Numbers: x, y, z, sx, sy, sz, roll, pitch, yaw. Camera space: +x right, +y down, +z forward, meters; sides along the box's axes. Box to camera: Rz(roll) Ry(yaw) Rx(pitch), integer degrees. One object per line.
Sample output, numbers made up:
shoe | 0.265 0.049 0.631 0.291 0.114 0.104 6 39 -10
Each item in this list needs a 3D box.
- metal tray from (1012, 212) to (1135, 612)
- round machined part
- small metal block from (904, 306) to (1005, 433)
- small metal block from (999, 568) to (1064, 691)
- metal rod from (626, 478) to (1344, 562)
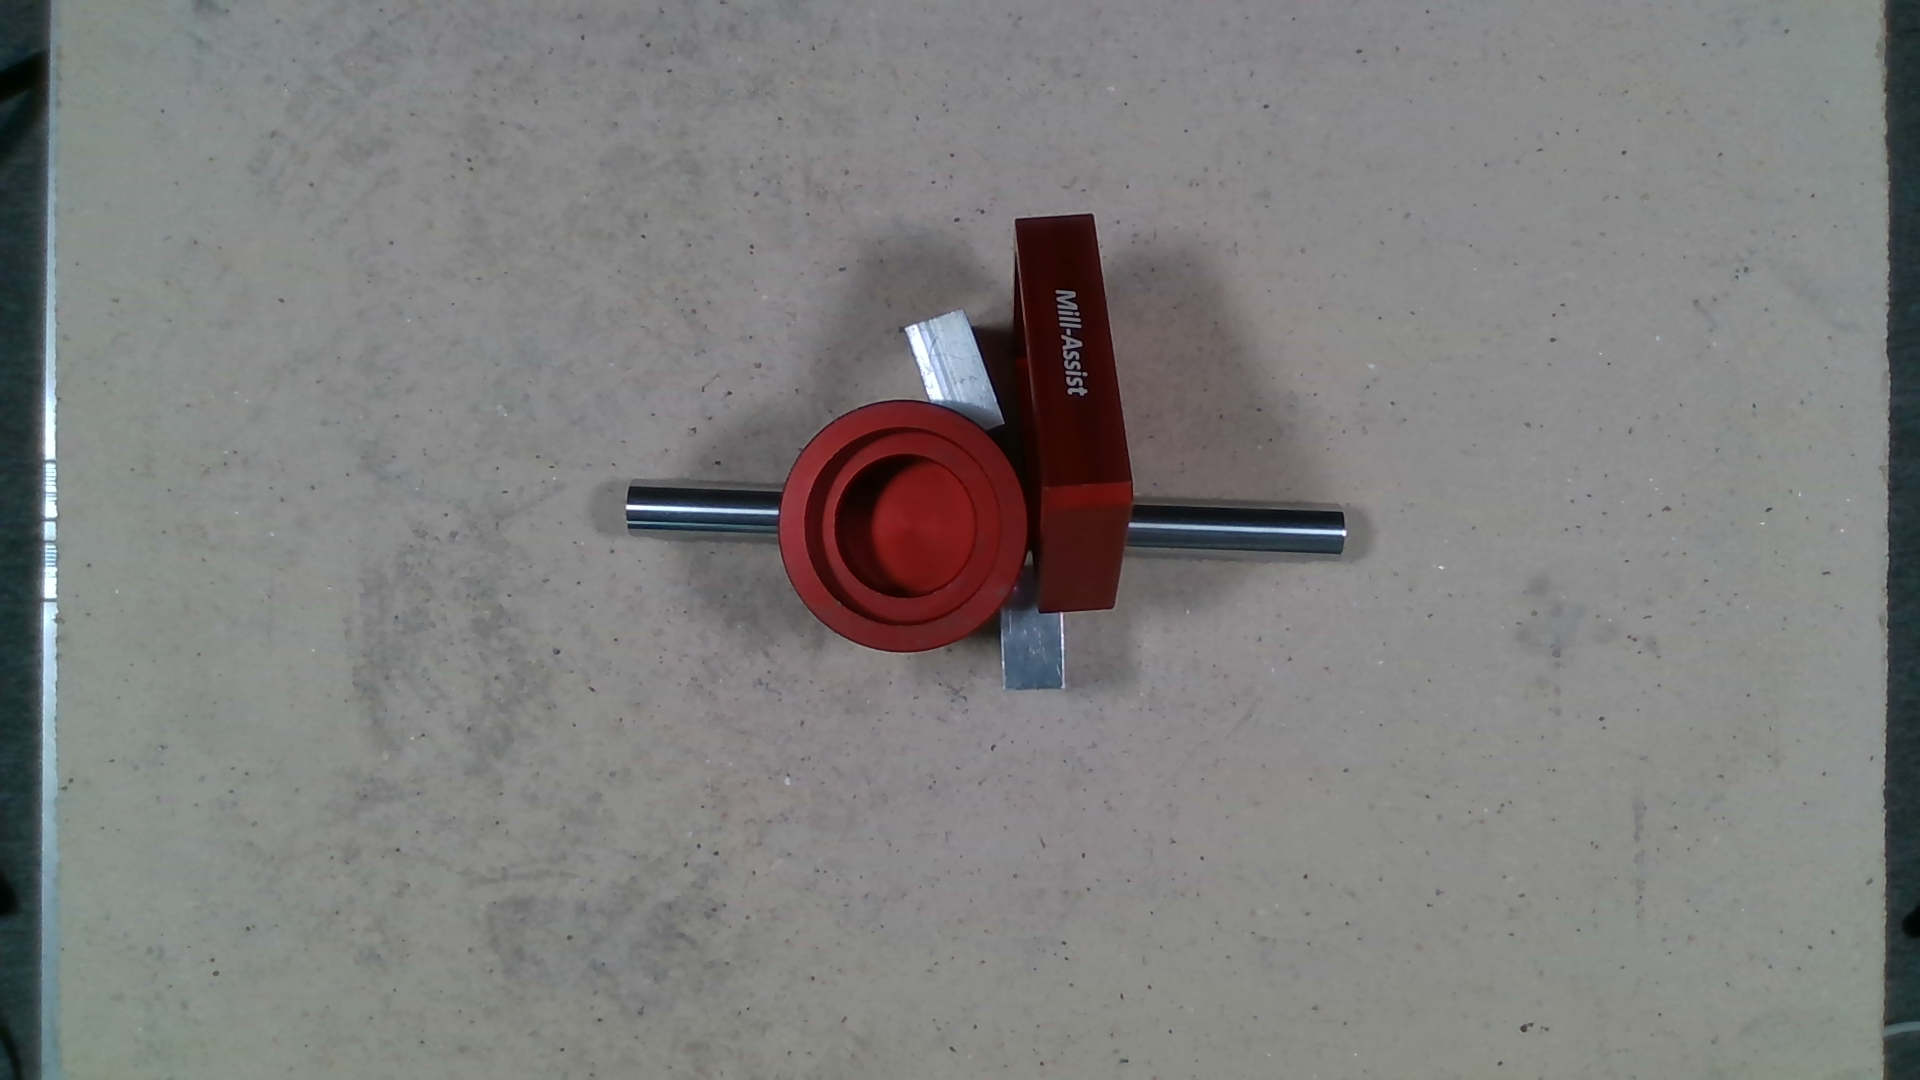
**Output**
metal tray | 0.040 -0.049 0.531 0.030 0.090 0.130 -4 61 -1
round machined part | -0.021 -0.006 0.551 0.098 0.042 0.098 0 92 3
small metal block | -0.002 -0.066 0.574 0.025 0.050 0.050 -19 90 0
small metal block | 0.028 0.035 0.575 0.025 0.050 0.050 -2 90 0
metal rod | 0.011 -0.009 0.587 0.300 0.025 0.025 2 90 0
